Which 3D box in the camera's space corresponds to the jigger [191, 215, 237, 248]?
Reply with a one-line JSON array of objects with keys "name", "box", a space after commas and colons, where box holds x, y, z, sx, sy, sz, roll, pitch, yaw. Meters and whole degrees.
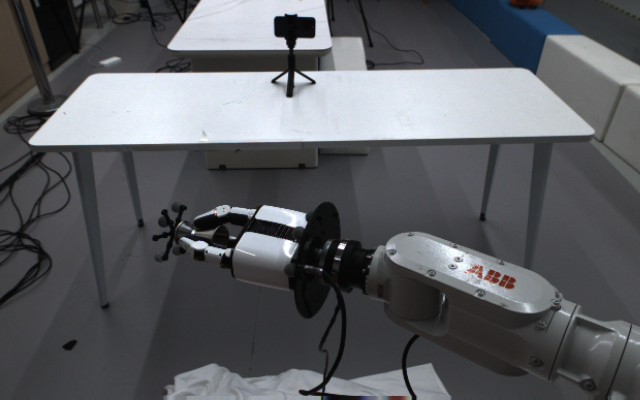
[{"name": "jigger", "box": [-0.170, 0.052, 0.717, 0.071, 0.043, 0.043, 7, 34, 22]}]
